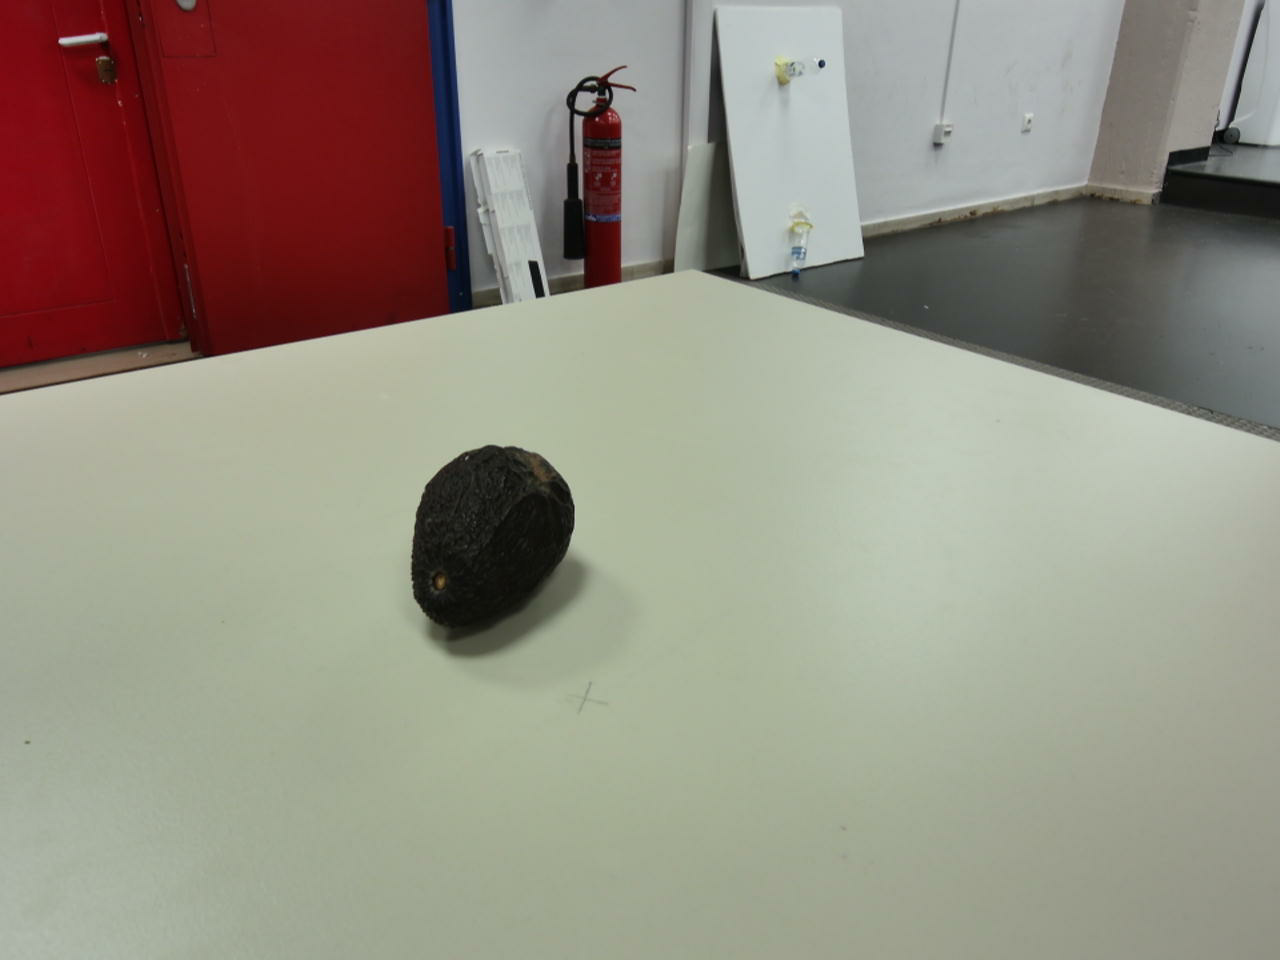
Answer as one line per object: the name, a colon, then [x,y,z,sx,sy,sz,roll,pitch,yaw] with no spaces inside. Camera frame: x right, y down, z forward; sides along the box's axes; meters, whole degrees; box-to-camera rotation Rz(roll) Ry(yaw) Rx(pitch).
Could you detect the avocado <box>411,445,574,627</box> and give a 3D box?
avocado: [-0.063,0.020,0.408,0.062,0.062,0.092,12,26,25]
